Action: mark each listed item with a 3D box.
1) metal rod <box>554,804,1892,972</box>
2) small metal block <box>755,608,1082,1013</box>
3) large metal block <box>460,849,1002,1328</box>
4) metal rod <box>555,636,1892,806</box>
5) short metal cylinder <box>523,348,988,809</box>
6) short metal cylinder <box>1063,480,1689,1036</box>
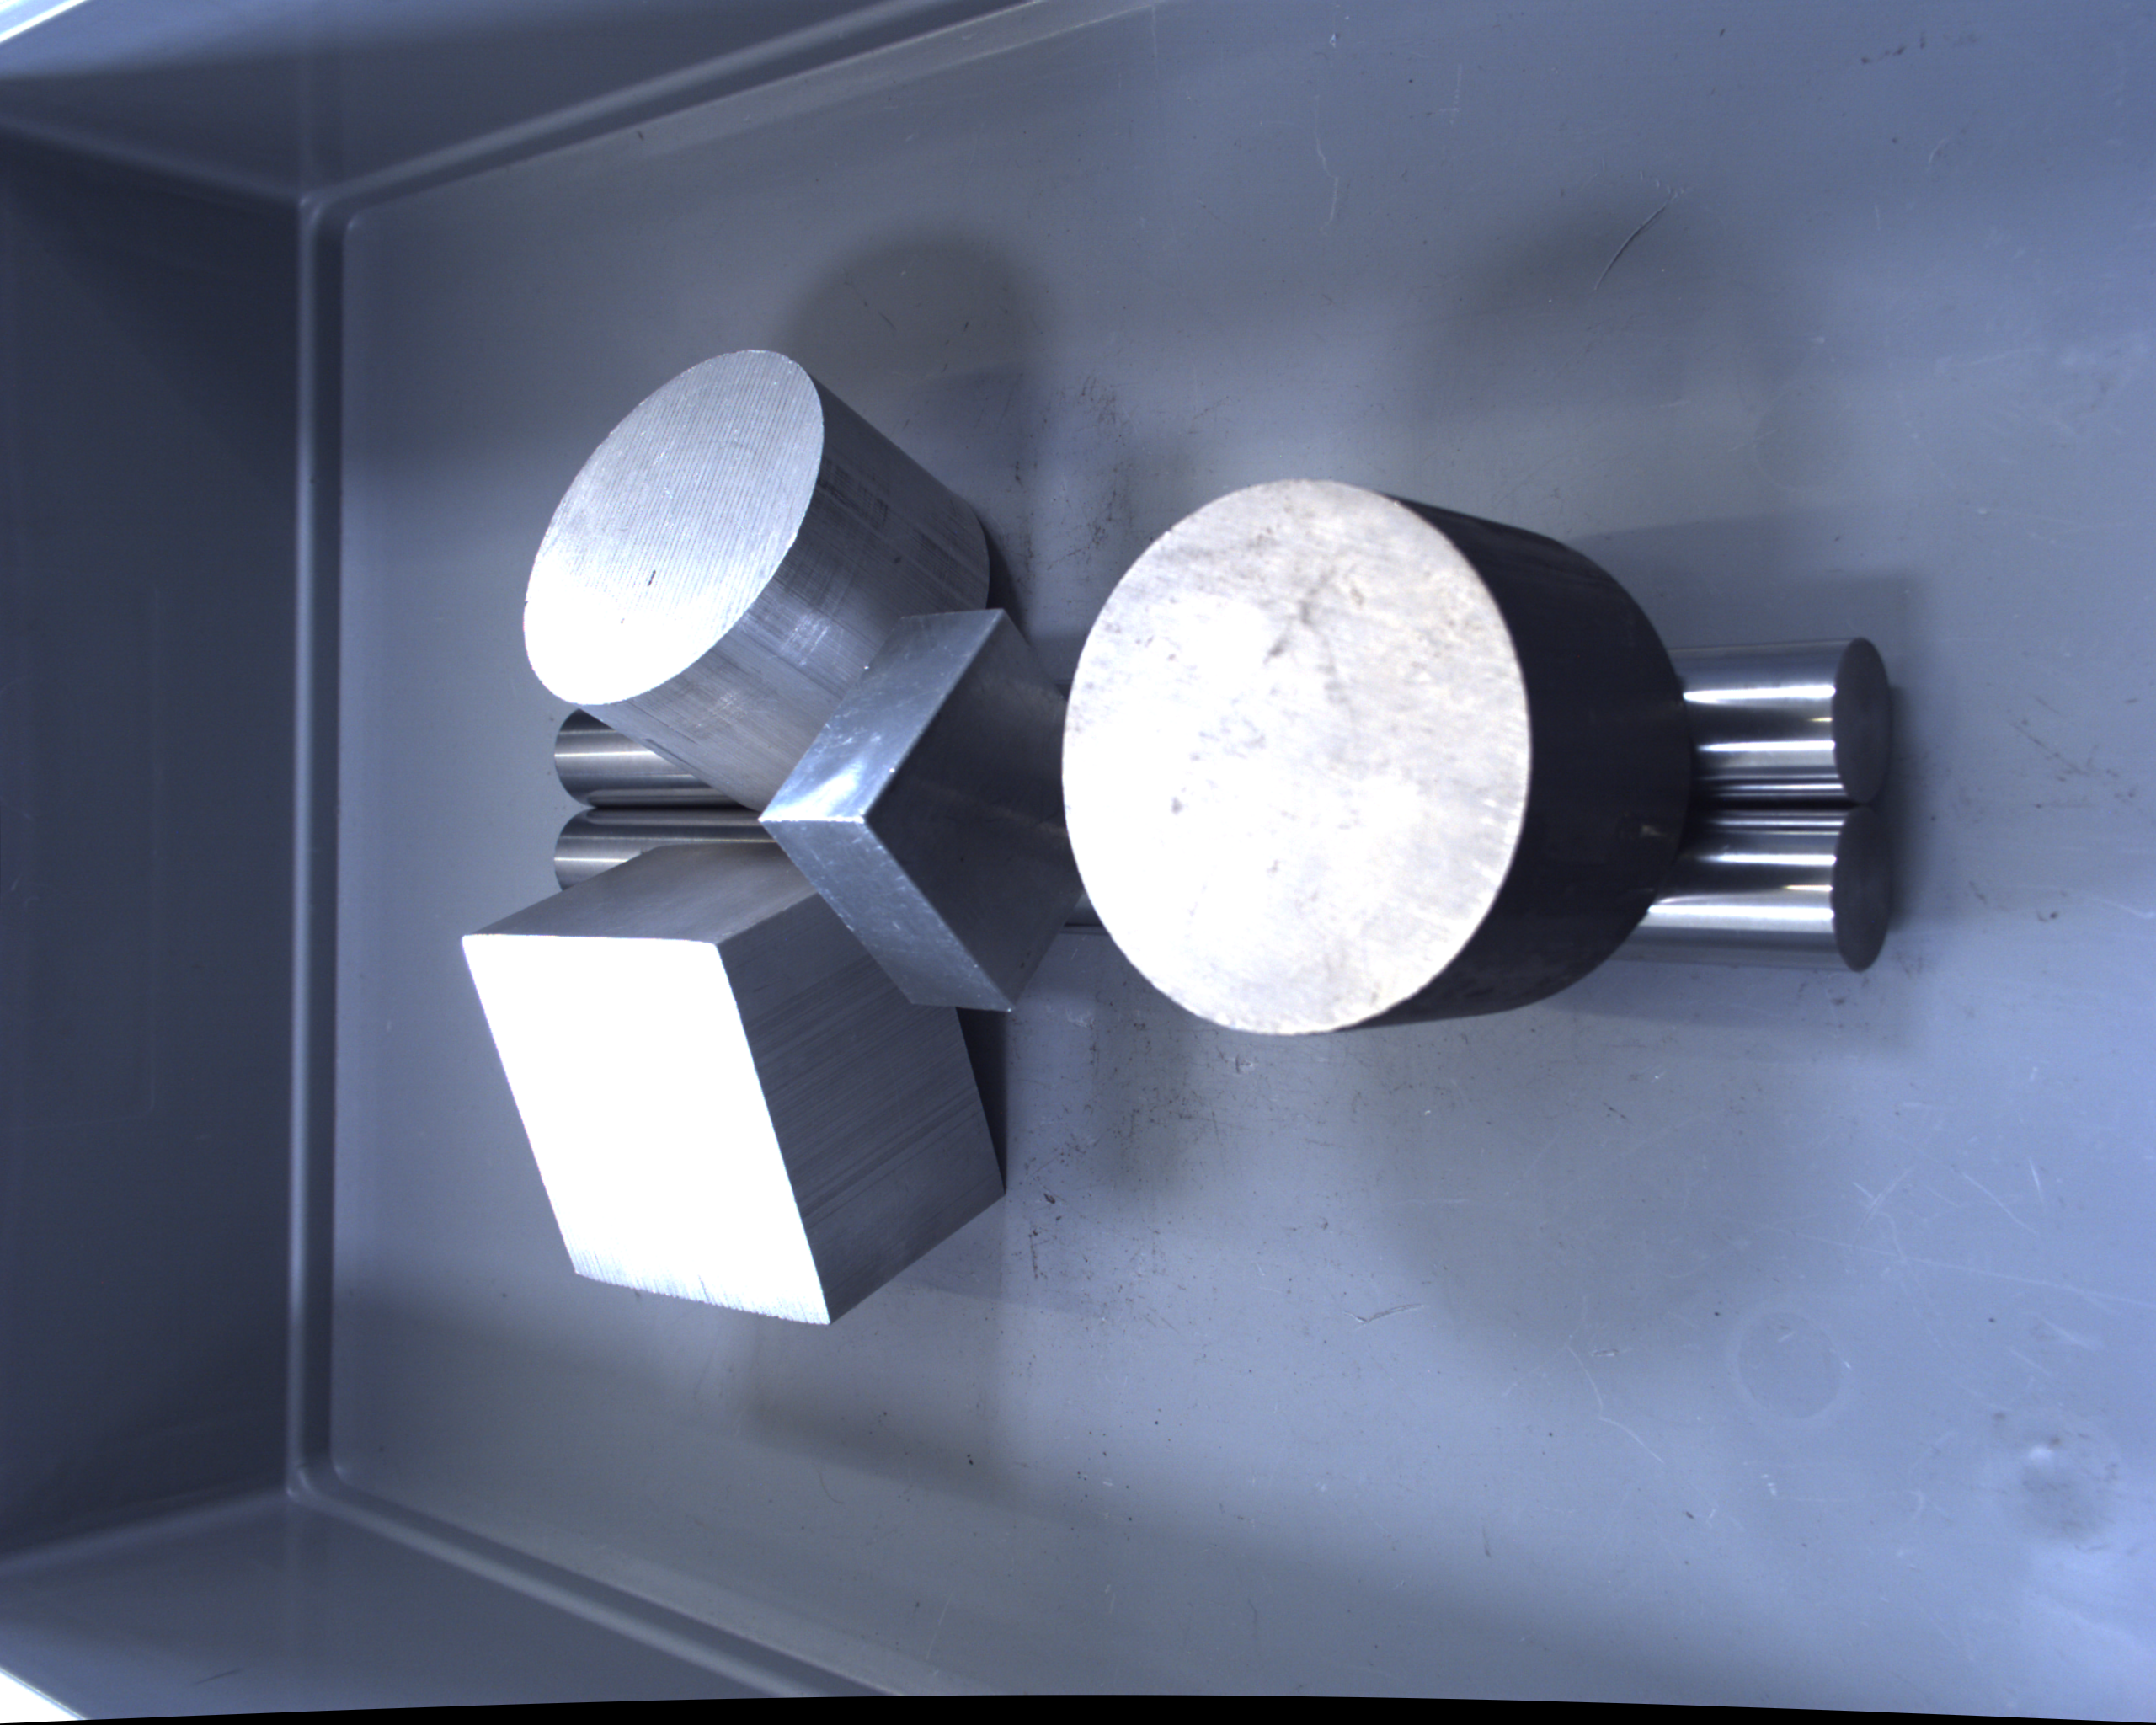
[{"bbox_3d":[0.001,0.002,0.404,0.300,0.025,0.025,1,91,40],"label":"metal rod"},{"bbox_3d":[-0.022,-0.009,0.370,0.025,0.050,0.050,1,49,40],"label":"small metal block"},{"bbox_3d":[-0.071,0.043,0.429,0.080,0.050,0.080,-1,110,40],"label":"large metal block"},{"bbox_3d":[0.001,-0.023,0.404,0.300,0.025,0.025,1,91,40],"label":"metal rod"},{"bbox_3d":[-0.066,-0.056,0.424,0.080,0.050,0.080,-19,55,30],"label":"short metal cylinder"},{"bbox_3d":[0.045,-0.015,0.319,0.080,0.050,0.079,0,90,40],"label":"short metal cylinder"}]
